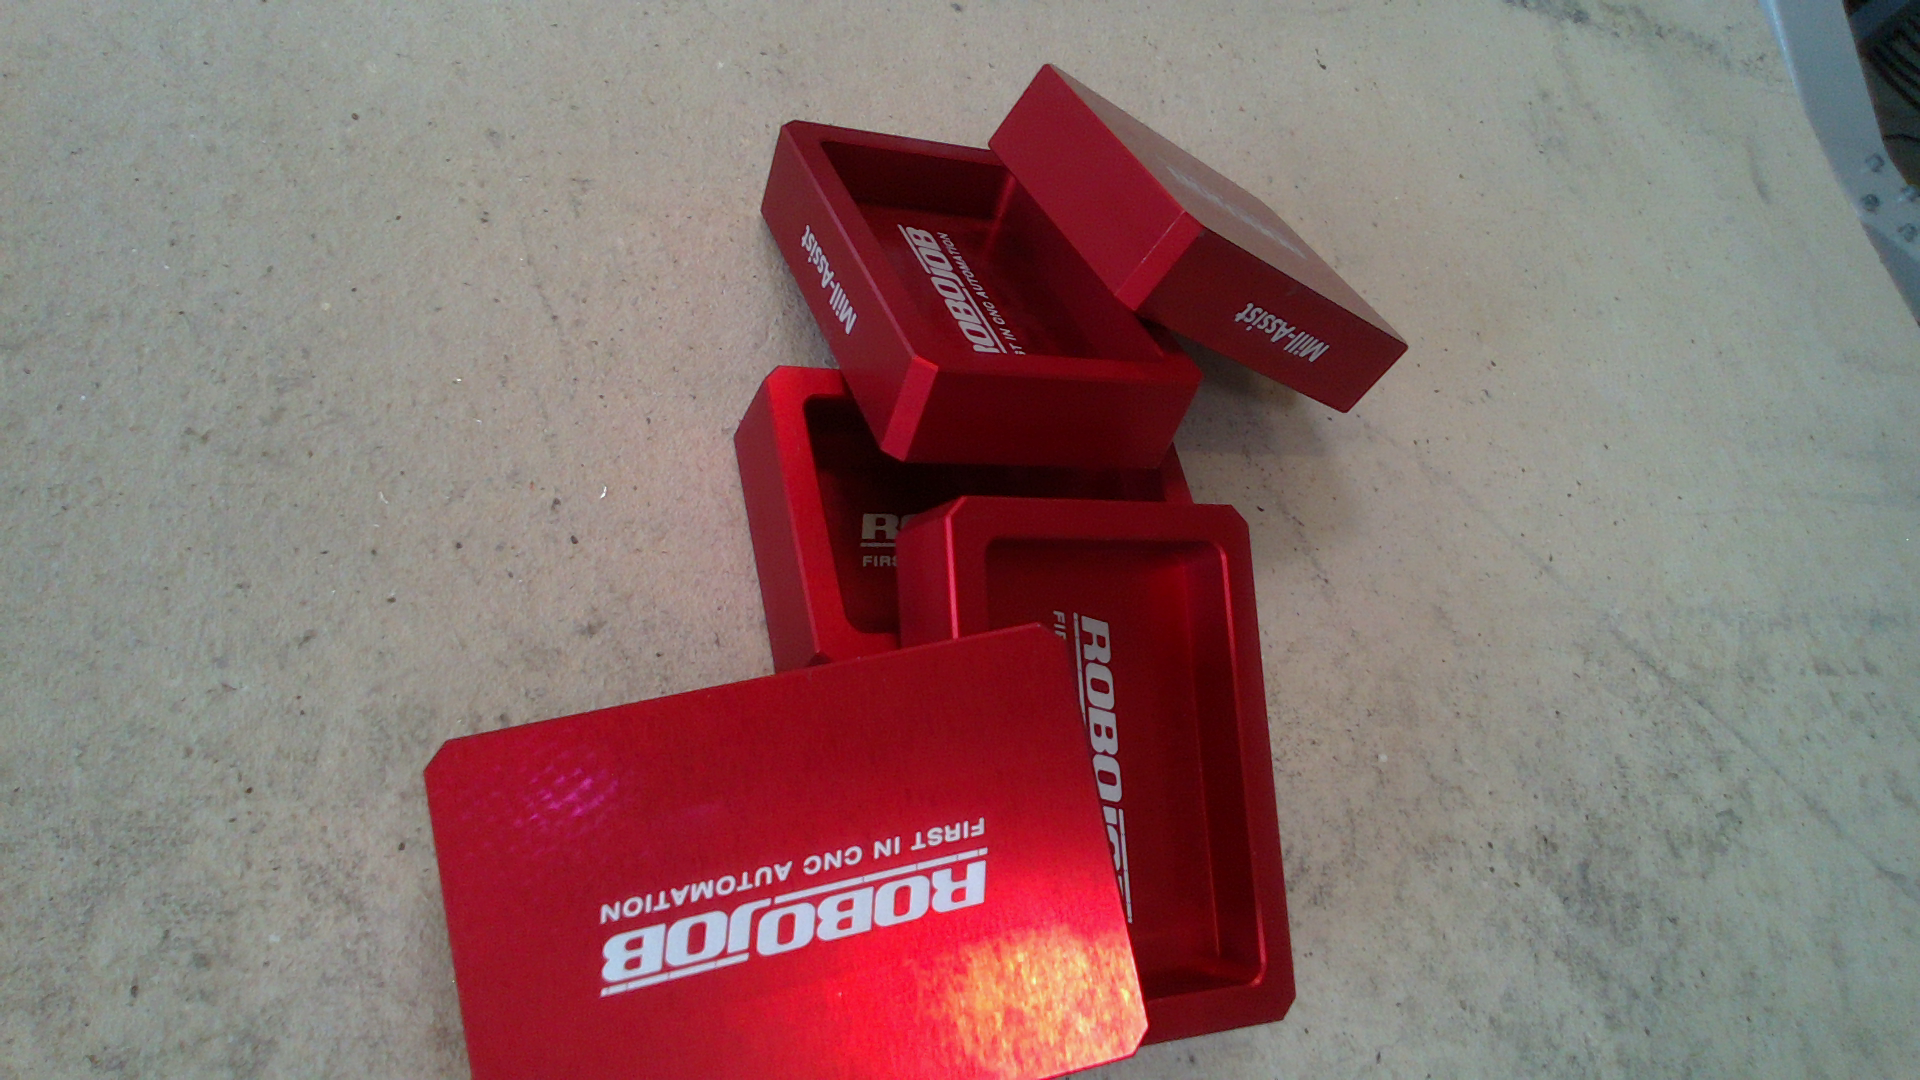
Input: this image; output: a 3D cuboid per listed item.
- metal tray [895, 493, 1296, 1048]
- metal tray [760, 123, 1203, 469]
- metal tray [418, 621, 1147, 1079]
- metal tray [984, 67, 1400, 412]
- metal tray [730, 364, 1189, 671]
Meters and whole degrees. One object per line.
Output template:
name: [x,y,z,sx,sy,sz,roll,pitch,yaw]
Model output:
metal tray: [0.034,0.056,0.345,0.090,0.030,0.130,1,80,-28]
metal tray: [0.002,-0.074,0.407,0.090,0.030,0.130,0,42,-29]
metal tray: [-0.035,0.074,0.285,0.130,0.030,0.090,-10,82,-13]
metal tray: [0.077,-0.094,0.445,0.131,0.030,0.090,14,34,-45]
metal tray: [0.007,-0.001,0.392,0.130,0.030,0.090,0,62,-28]
